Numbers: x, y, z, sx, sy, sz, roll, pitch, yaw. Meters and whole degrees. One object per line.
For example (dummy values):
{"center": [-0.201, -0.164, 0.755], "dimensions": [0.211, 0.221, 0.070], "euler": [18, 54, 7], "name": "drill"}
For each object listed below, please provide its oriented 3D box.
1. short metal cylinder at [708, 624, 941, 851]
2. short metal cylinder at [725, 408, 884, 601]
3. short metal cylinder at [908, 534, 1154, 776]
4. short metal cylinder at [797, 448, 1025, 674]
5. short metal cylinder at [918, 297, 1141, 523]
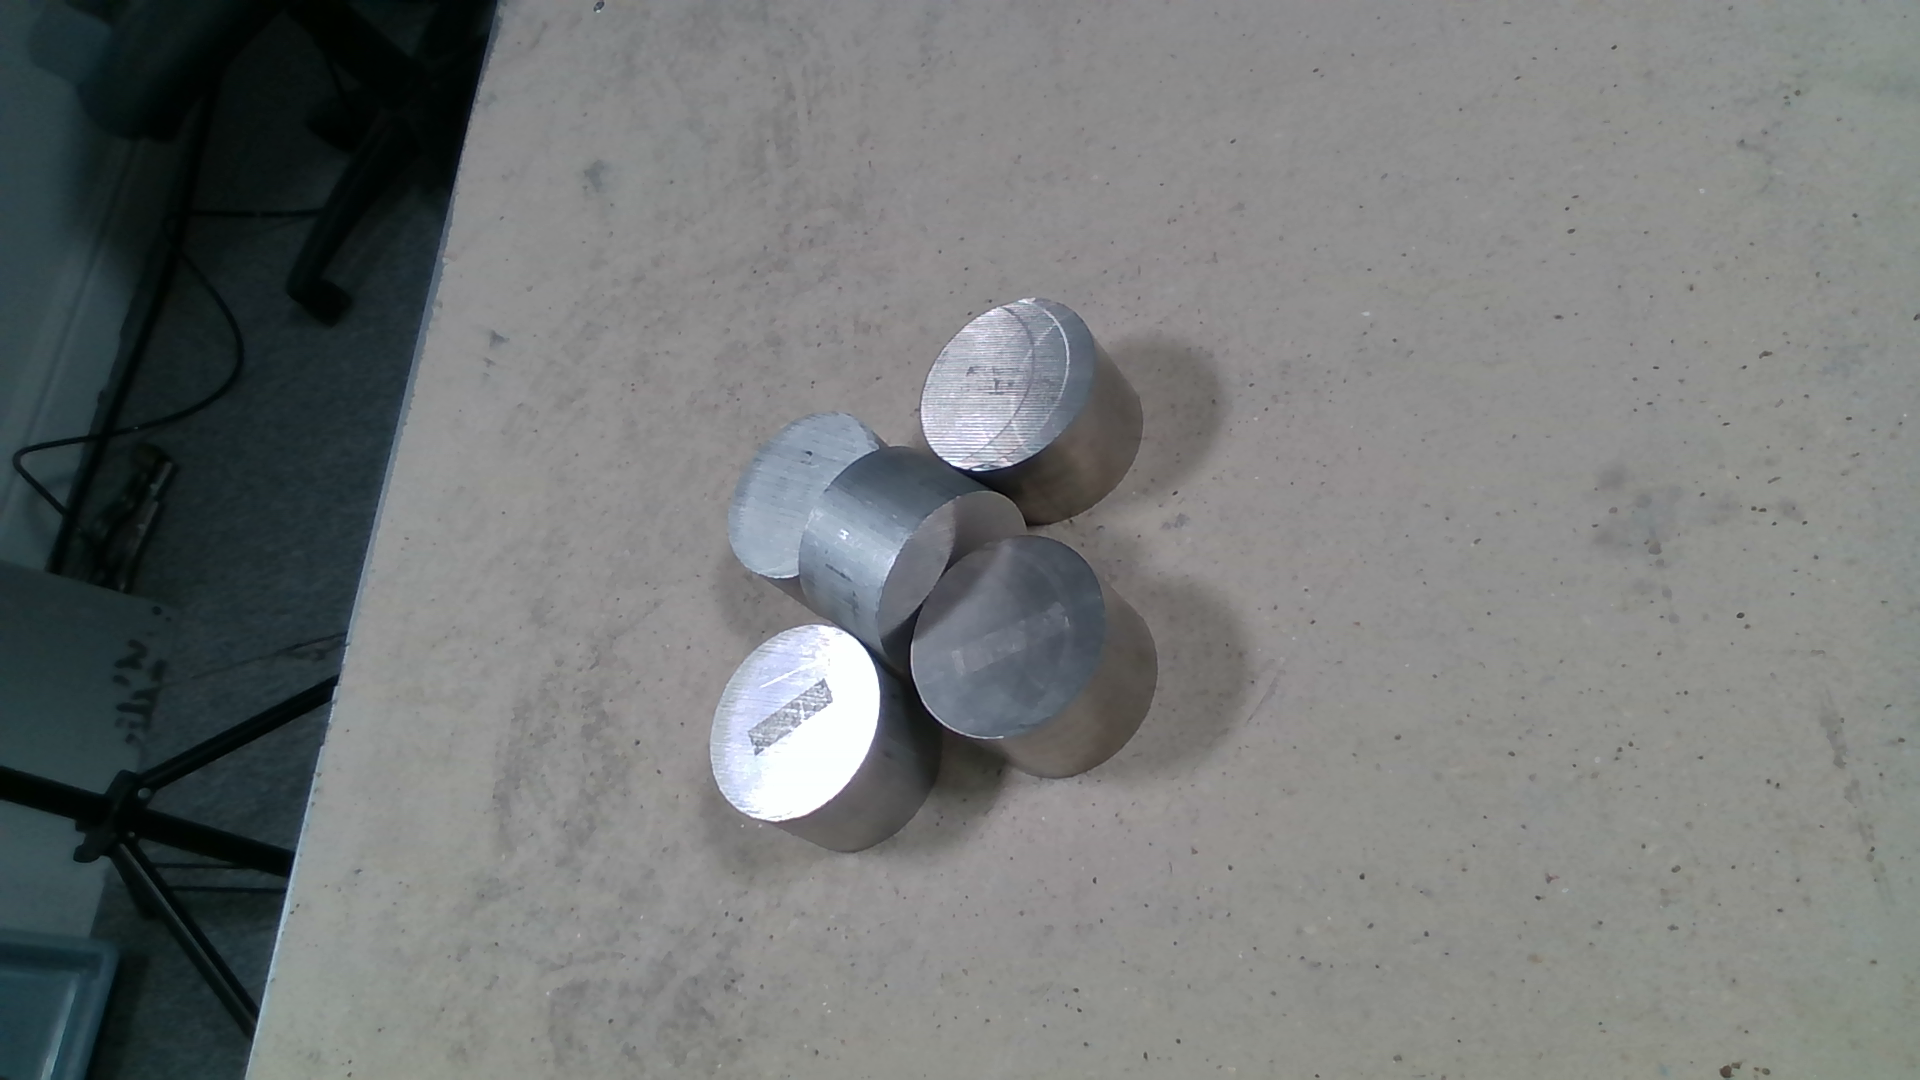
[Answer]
{"center": [-0.055, 0.081, 0.559], "dimensions": [0.080, 0.050, 0.080], "euler": [-14, 59, 25], "name": "short metal cylinder"}
{"center": [-0.056, -0.011, 0.609], "dimensions": [0.080, 0.050, 0.080], "euler": [-14, 59, 25], "name": "short metal cylinder"}
{"center": [0.027, 0.044, 0.527], "dimensions": [0.080, 0.050, 0.080], "euler": [-14, 59, 25], "name": "short metal cylinder"}
{"center": [-0.019, 0.009, 0.557], "dimensions": [0.050, 0.080, 0.080], "euler": [30, 83, 39], "name": "short metal cylinder"}
{"center": [0.029, -0.054, 0.579], "dimensions": [0.080, 0.050, 0.080], "euler": [-14, 59, 25], "name": "short metal cylinder"}
